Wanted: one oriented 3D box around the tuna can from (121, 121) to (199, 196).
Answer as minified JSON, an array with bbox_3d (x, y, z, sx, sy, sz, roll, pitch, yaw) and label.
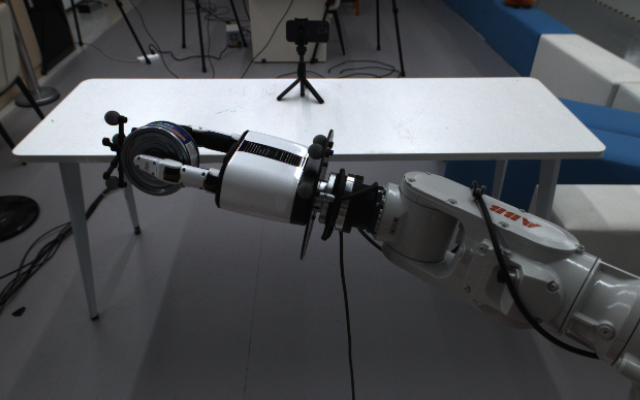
[{"bbox_3d":[-0.187,-0.045,0.572,0.085,0.085,0.034,4,19,3],"label":"tuna can"}]
